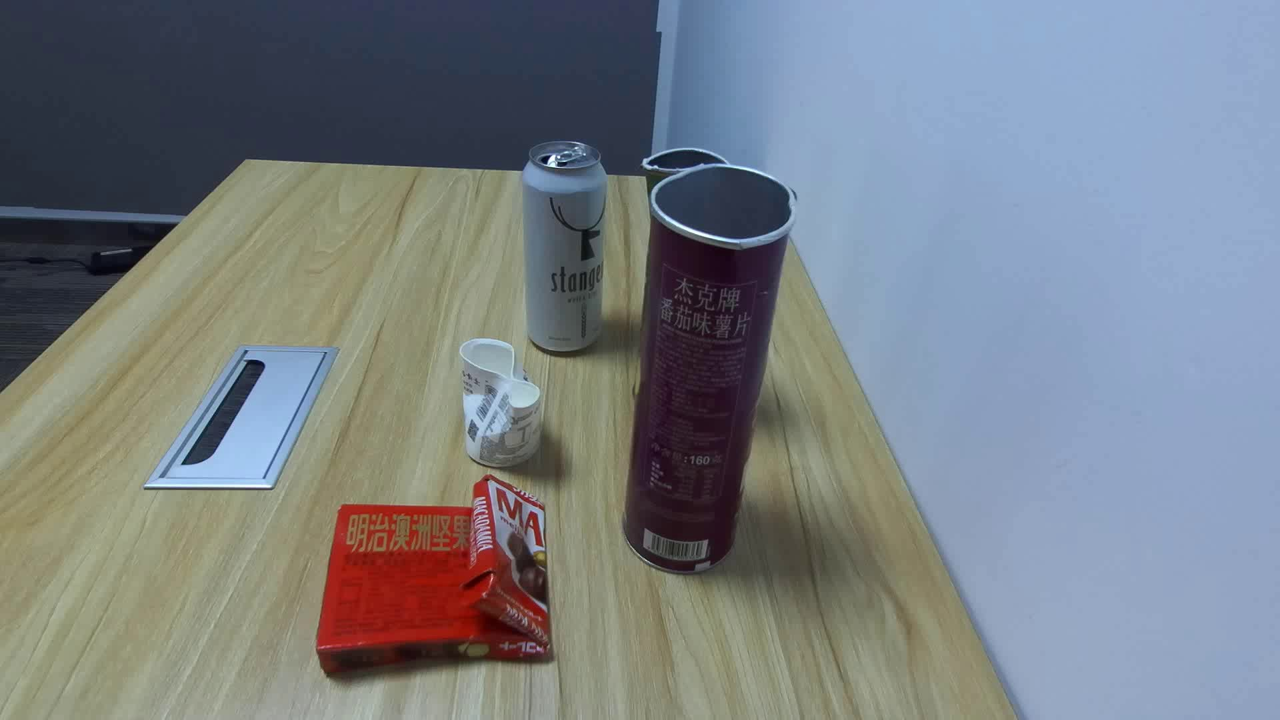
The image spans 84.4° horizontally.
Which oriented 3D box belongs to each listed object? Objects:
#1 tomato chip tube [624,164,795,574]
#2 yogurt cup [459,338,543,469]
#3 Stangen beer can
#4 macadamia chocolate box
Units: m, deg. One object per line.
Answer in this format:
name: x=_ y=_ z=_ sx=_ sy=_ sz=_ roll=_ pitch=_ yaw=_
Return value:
tomato chip tube: x=0.034 y=0.017 z=0.397 sx=0.080 sy=0.234 sz=0.076 roll=-24 pitch=46 yaw=-31
yogurt cup: x=-0.099 y=0.033 z=0.501 sx=0.075 sy=0.071 sz=0.054 roll=18 pitch=41 yaw=17
Stangen beer can: x=-0.062 y=-0.089 z=0.591 sx=0.067 sy=0.171 sz=0.067 roll=5 pitch=34 yaw=-3
macadamia chocolate box: x=-0.118 y=0.121 z=0.418 sx=0.127 sy=0.056 sz=0.112 roll=-4 pitch=22 yaw=-10
